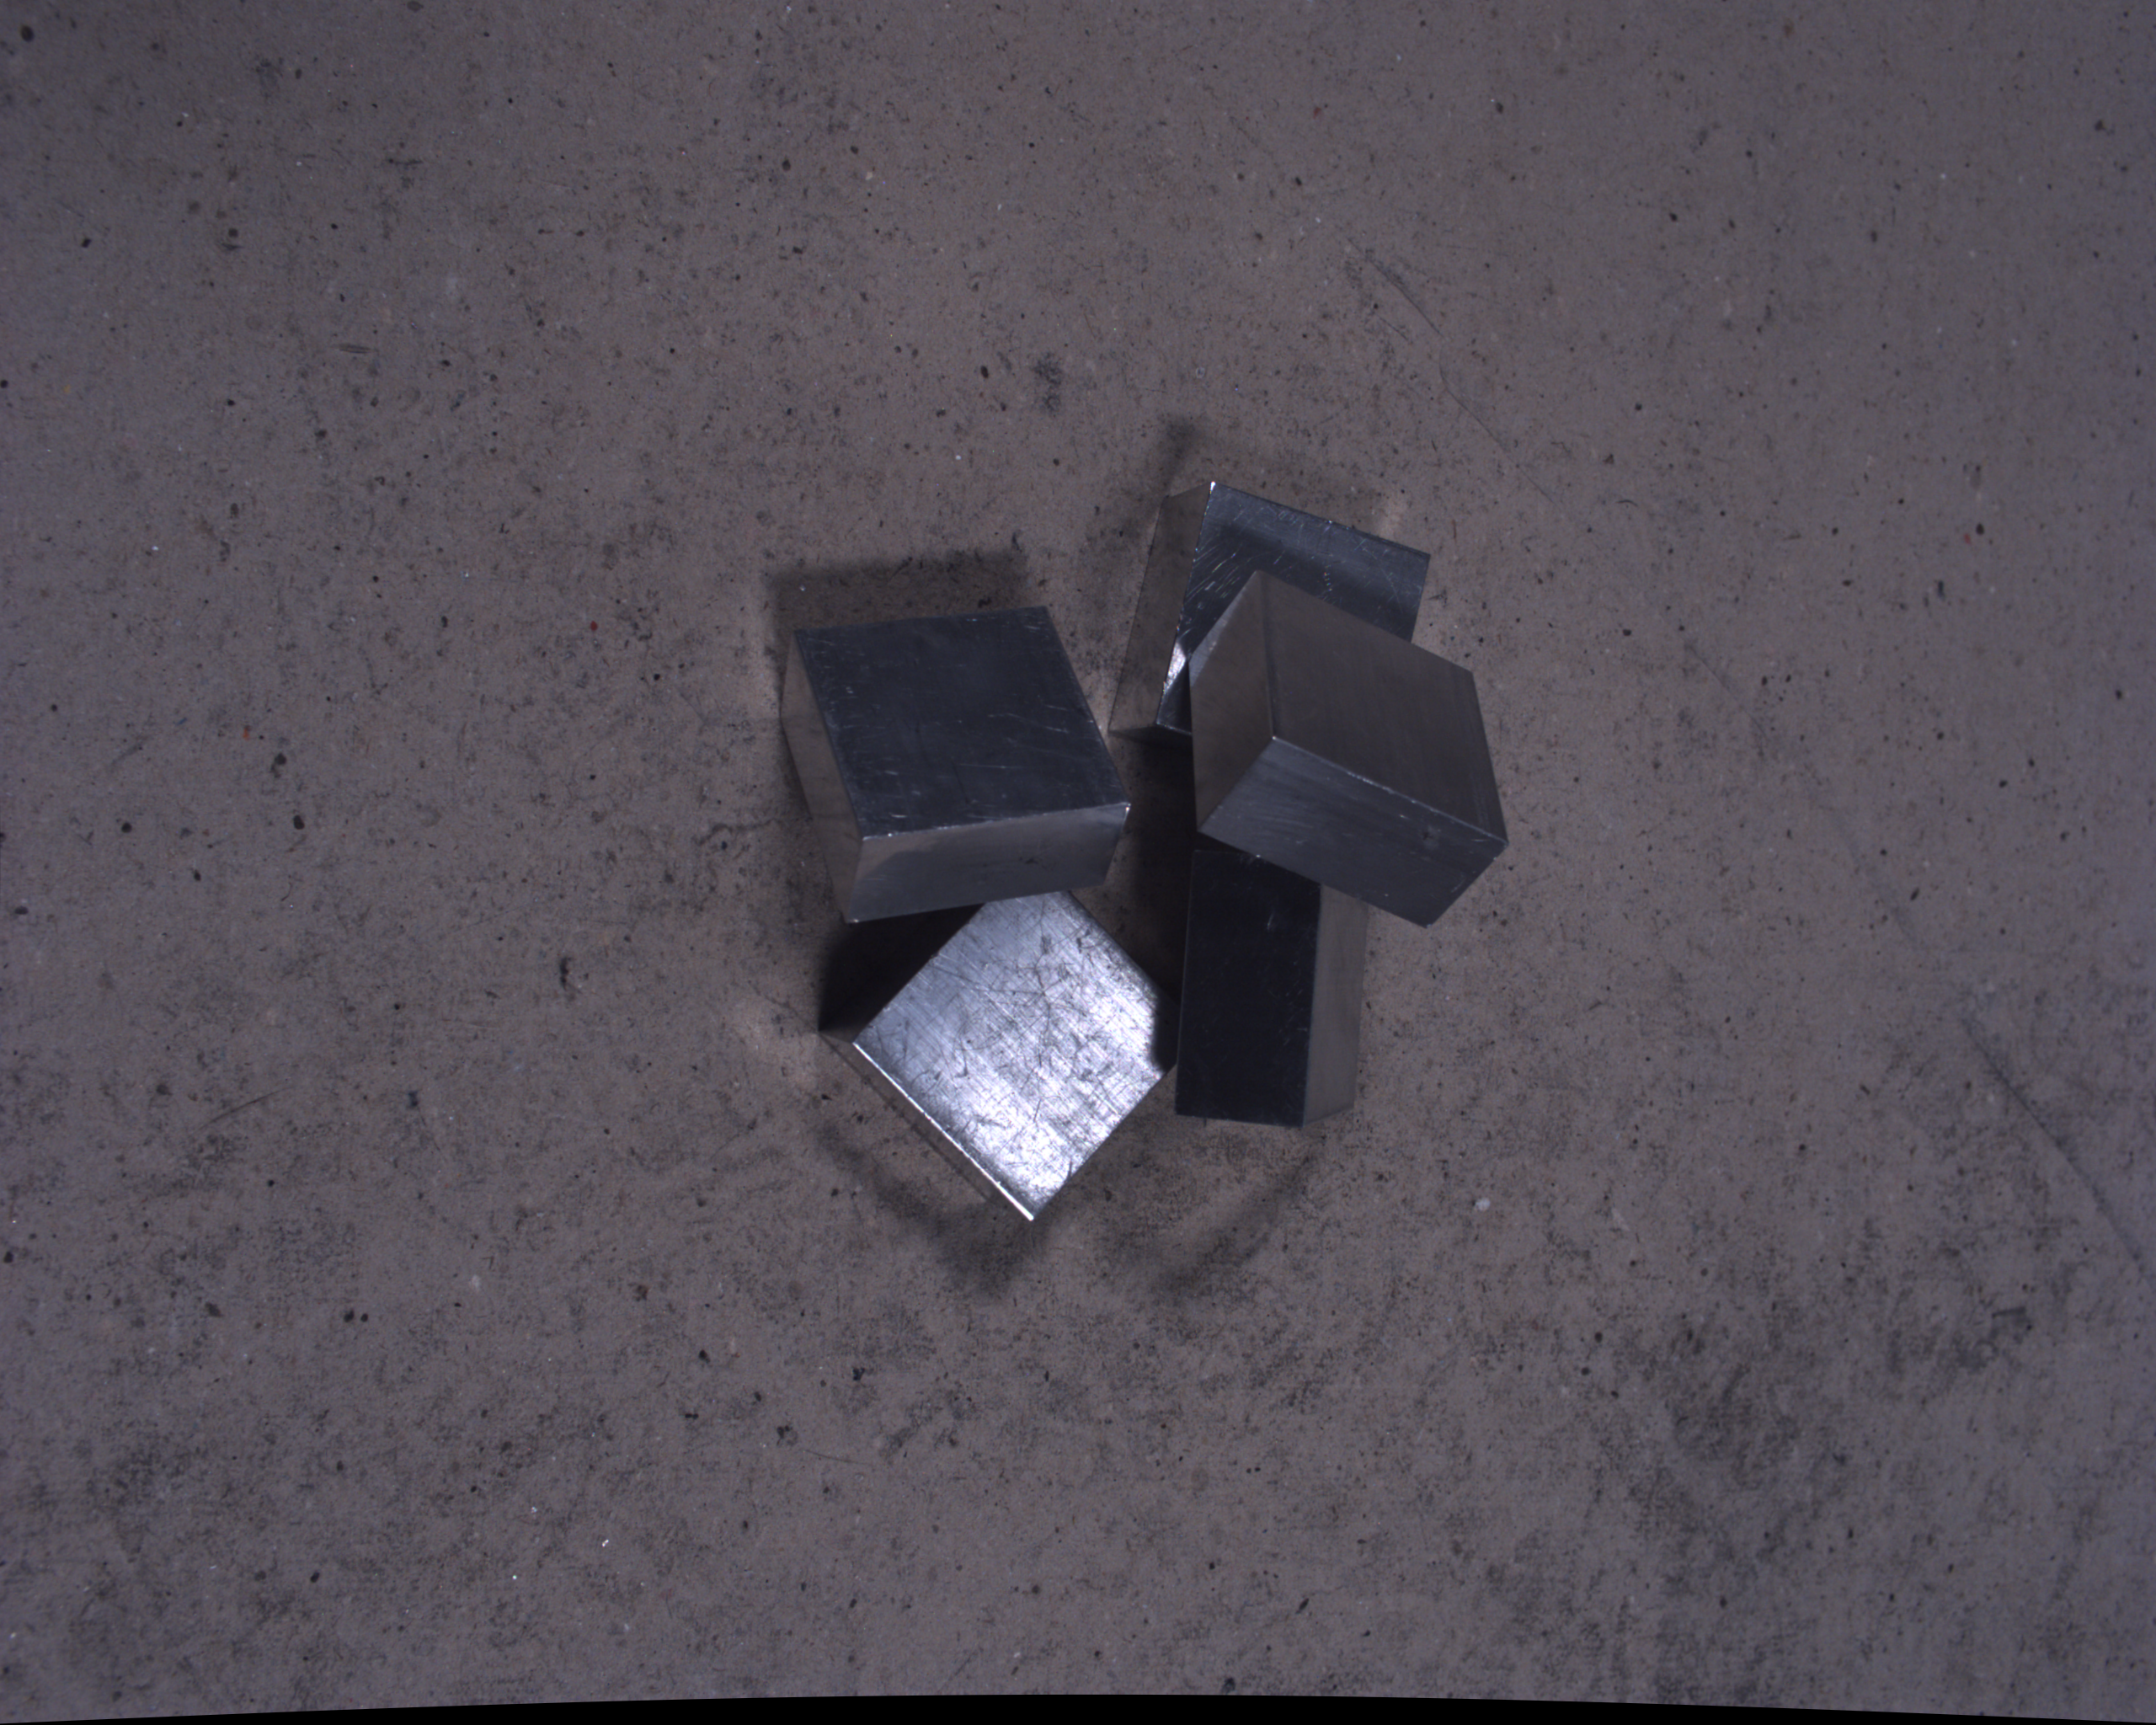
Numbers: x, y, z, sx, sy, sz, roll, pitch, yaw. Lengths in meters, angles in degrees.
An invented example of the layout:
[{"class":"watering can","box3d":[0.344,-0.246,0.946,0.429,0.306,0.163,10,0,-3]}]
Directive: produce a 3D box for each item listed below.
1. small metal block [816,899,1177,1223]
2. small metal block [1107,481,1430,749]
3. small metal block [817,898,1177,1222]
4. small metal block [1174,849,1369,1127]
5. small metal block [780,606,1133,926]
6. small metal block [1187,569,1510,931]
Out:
[{"class":"small metal block","box3d":[-0.013,0.033,0.407,0.050,0.025,0.050,-47,105,-14]},{"class":"small metal block","box3d":[0.039,-0.045,0.426,0.050,0.025,0.050,15,85,-20]},{"class":"small metal block","box3d":[-0.013,0.033,0.407,0.050,0.025,0.050,-47,105,-14]},{"class":"small metal block","box3d":[0.039,0.024,0.410,0.025,0.050,0.050,4,88,18]},{"class":"small metal block","box3d":[-0.024,-0.019,0.389,0.050,0.025,0.050,-8,55,-21]},{"class":"small metal block","box3d":[0.049,-0.021,0.389,0.050,0.025,0.050,23,39,-19]}]
